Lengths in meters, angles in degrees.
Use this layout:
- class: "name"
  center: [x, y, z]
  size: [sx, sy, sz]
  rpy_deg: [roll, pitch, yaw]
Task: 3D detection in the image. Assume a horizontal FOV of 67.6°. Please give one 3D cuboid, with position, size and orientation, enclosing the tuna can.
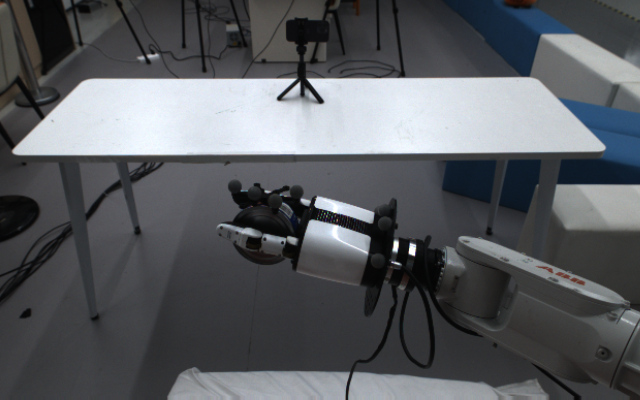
- class: "tuna can"
  center: [-0.069, 0.041, 0.634]
  size: [0.085, 0.085, 0.034]
  rpy_deg: [6, 22, 6]
